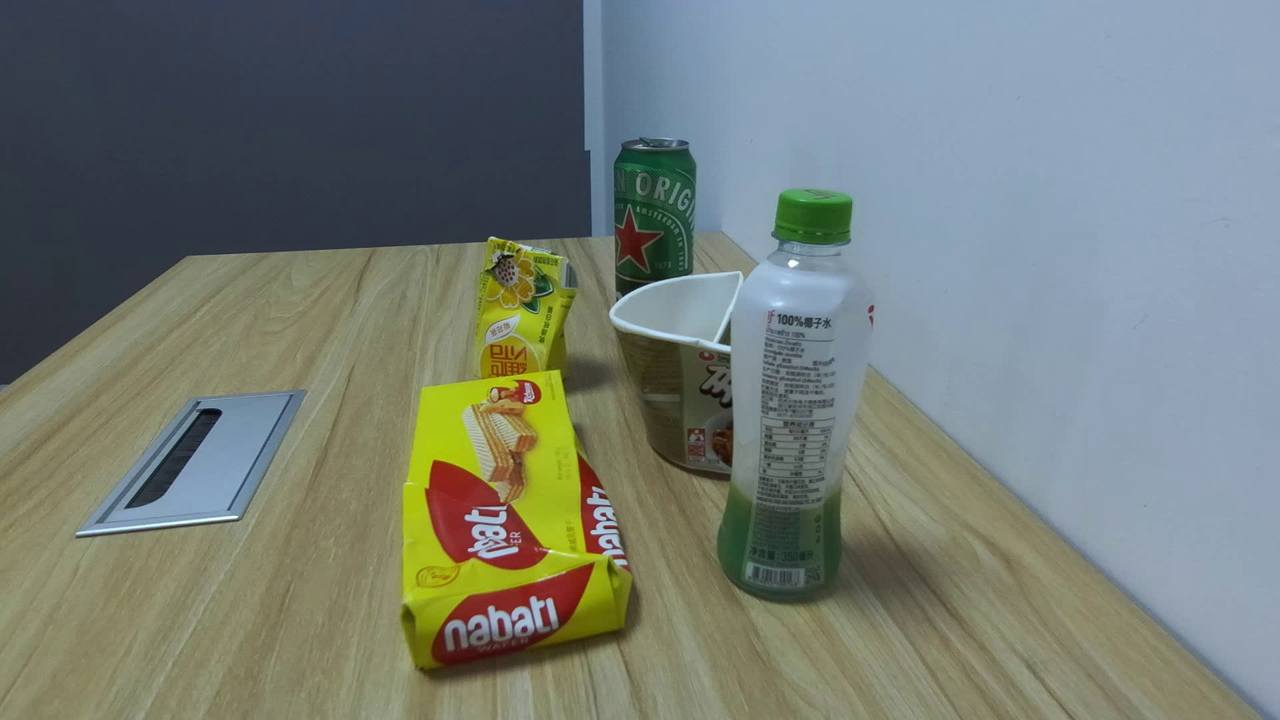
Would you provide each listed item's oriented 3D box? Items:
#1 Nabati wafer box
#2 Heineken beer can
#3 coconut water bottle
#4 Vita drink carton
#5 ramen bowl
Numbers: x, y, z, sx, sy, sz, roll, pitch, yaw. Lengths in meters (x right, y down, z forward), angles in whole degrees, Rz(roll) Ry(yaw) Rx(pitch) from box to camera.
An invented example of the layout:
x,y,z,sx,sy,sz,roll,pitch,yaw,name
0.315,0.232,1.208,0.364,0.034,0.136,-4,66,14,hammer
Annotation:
x,y,z,sx,sy,sz,roll,pitch,yaw,name
-0.071,0.073,0.391,0.107,0.042,0.203,-8,28,-11,Nabati wafer box
0.011,-0.094,0.593,0.067,0.169,0.067,-1,25,1,Heineken beer can
0.075,0.020,0.335,0.069,0.186,0.069,3,17,-1,coconut water bottle
-0.086,-0.035,0.541,0.086,0.108,0.042,15,15,21,Vita drink carton
0.050,0.007,0.469,0.137,0.098,0.137,0,25,0,ramen bowl
